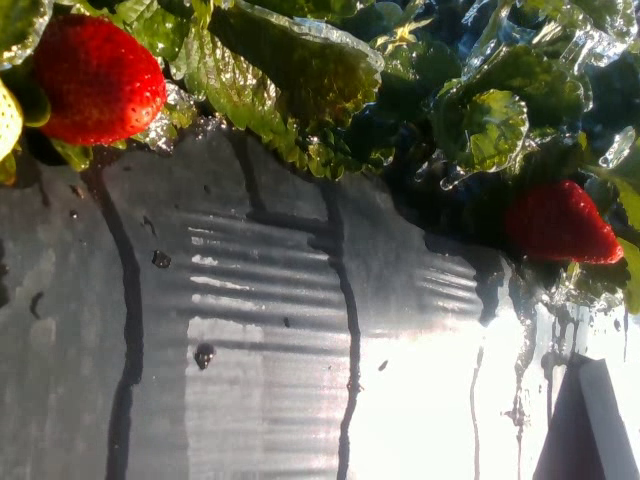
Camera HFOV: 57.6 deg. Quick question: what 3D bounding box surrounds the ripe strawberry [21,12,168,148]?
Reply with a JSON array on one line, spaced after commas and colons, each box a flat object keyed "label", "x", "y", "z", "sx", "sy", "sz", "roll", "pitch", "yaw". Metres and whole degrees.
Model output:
[{"label": "ripe strawberry", "x": -0.057, "y": -0.040, "z": 0.152, "sx": 0.037, "sy": 0.040, "sz": 0.051, "roll": 3, "pitch": 15, "yaw": -34}]

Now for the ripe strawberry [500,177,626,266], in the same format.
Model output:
[{"label": "ripe strawberry", "x": 0.109, "y": -0.004, "z": 0.251, "sx": 0.041, "sy": 0.047, "sz": 0.053, "roll": 12, "pitch": 20, "yaw": -30}]
